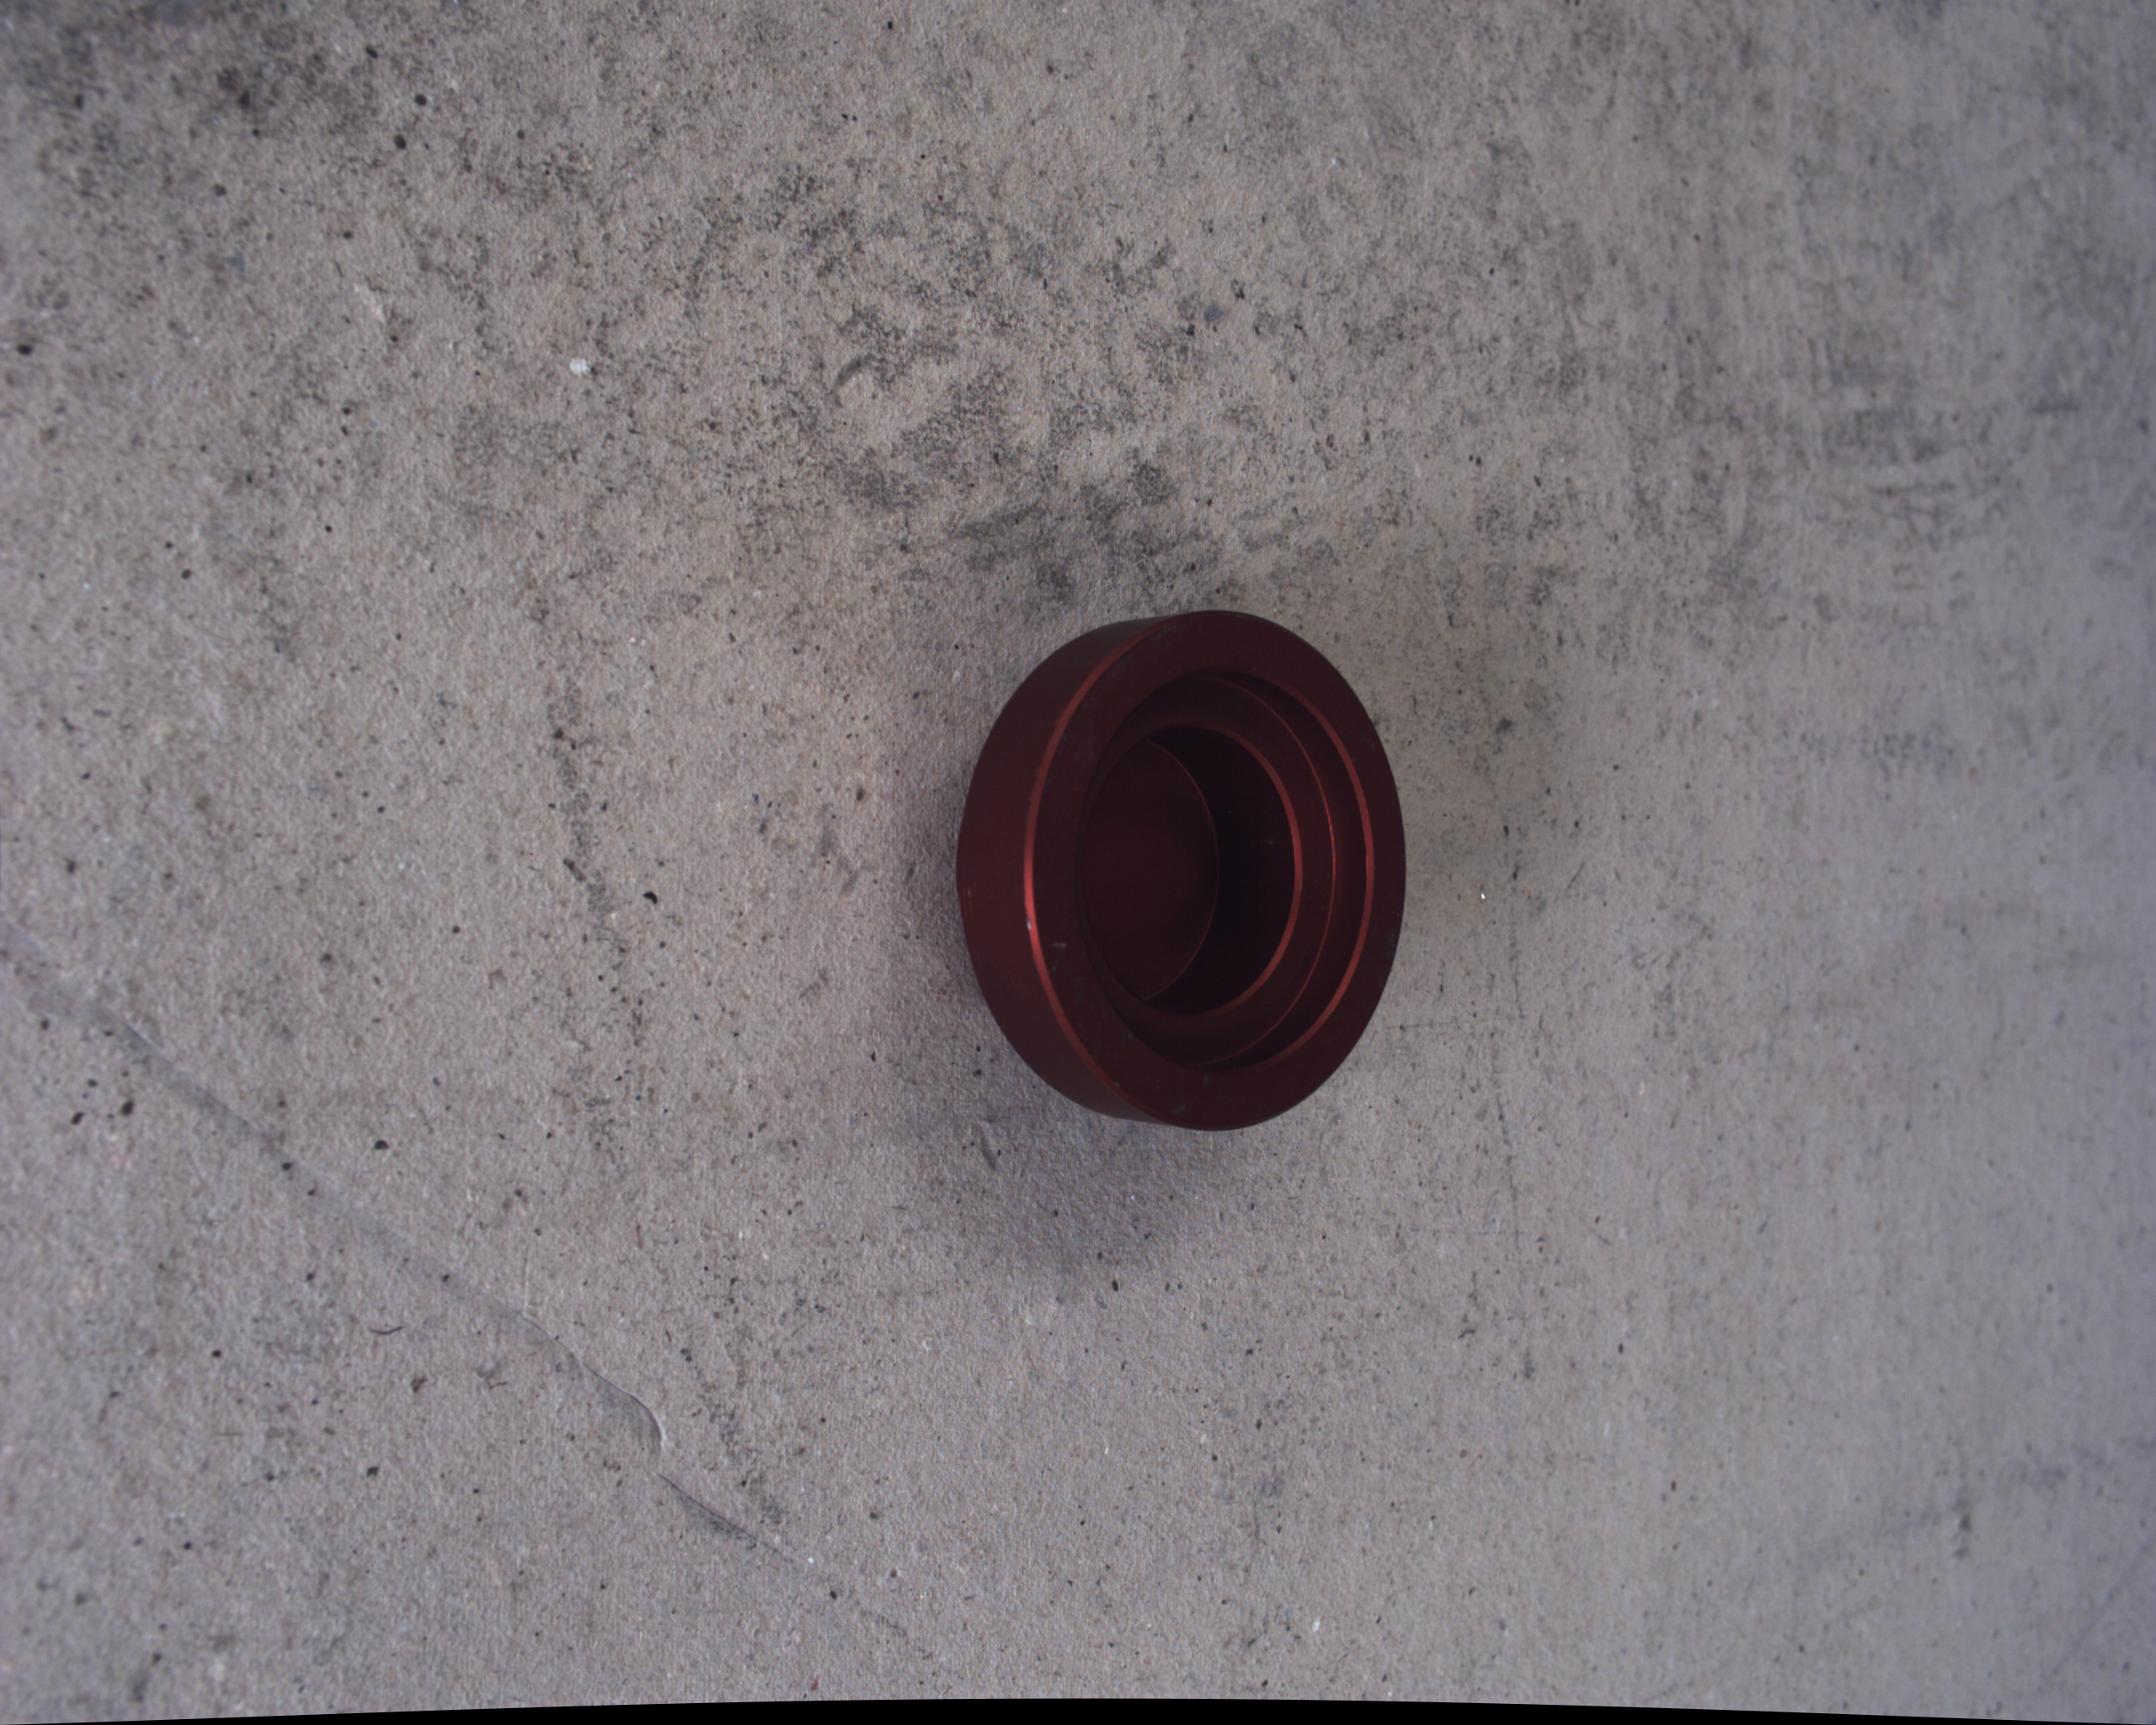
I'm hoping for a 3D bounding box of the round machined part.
[{"bbox_3d":[0.016,0.001,0.408,0.099,0.042,0.097,0,90,-40],"label":"round machined part"}]
